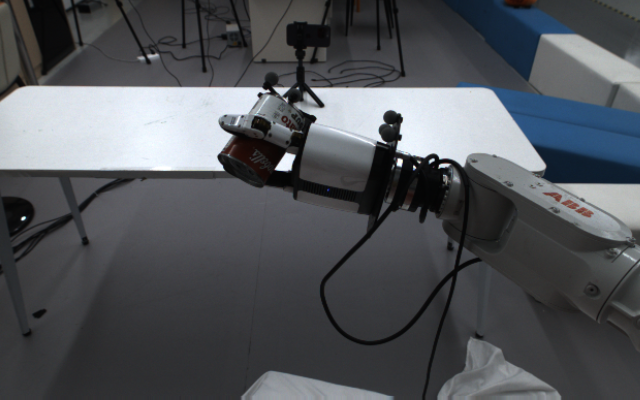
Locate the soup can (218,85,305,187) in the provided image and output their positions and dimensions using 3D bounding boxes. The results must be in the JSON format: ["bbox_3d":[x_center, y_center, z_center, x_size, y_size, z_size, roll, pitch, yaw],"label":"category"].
[{"bbox_3d":[-0.071,-0.075,0.606,0.067,0.067,0.101,23,71,27],"label":"soup can"}]
